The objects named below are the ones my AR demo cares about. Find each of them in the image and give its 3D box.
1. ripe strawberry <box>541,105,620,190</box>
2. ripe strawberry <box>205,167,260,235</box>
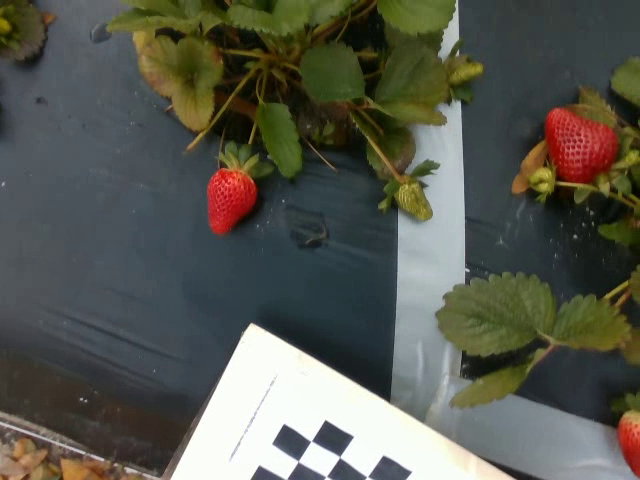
[{"bbox_3d":[0.167,-0.063,0.375,0.043,0.062,0.042,-41,0,33],"label":"ripe strawberry"},{"bbox_3d":[-0.056,-0.026,0.360,0.036,0.046,0.040,20,-18,19],"label":"ripe strawberry"}]
